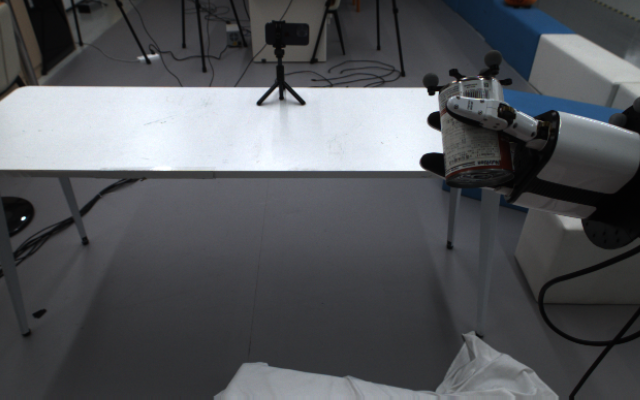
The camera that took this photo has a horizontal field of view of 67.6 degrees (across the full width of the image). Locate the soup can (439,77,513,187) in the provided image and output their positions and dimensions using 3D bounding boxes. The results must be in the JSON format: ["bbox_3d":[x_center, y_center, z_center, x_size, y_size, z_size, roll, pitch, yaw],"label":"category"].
[{"bbox_3d":[0.163,-0.073,0.511,0.067,0.067,0.101,-1,76,-4],"label":"soup can"}]
